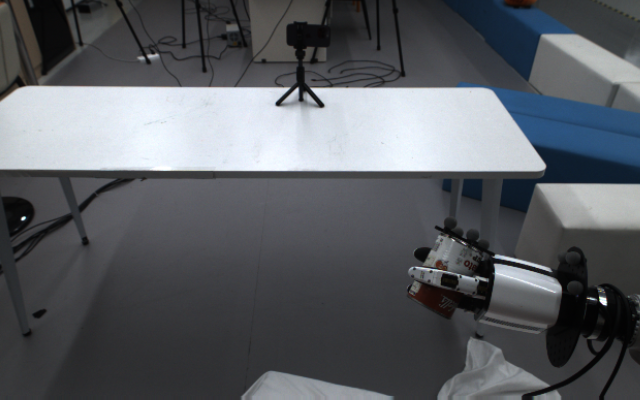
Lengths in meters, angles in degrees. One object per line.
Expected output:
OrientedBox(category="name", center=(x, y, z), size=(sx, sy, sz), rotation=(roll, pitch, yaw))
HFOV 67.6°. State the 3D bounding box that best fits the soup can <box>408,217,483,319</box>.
OrientedBox(category="soup can", center=(0.174, 0.104, 0.669), size=(0.067, 0.067, 0.101), rotation=(27, 86, 31))
